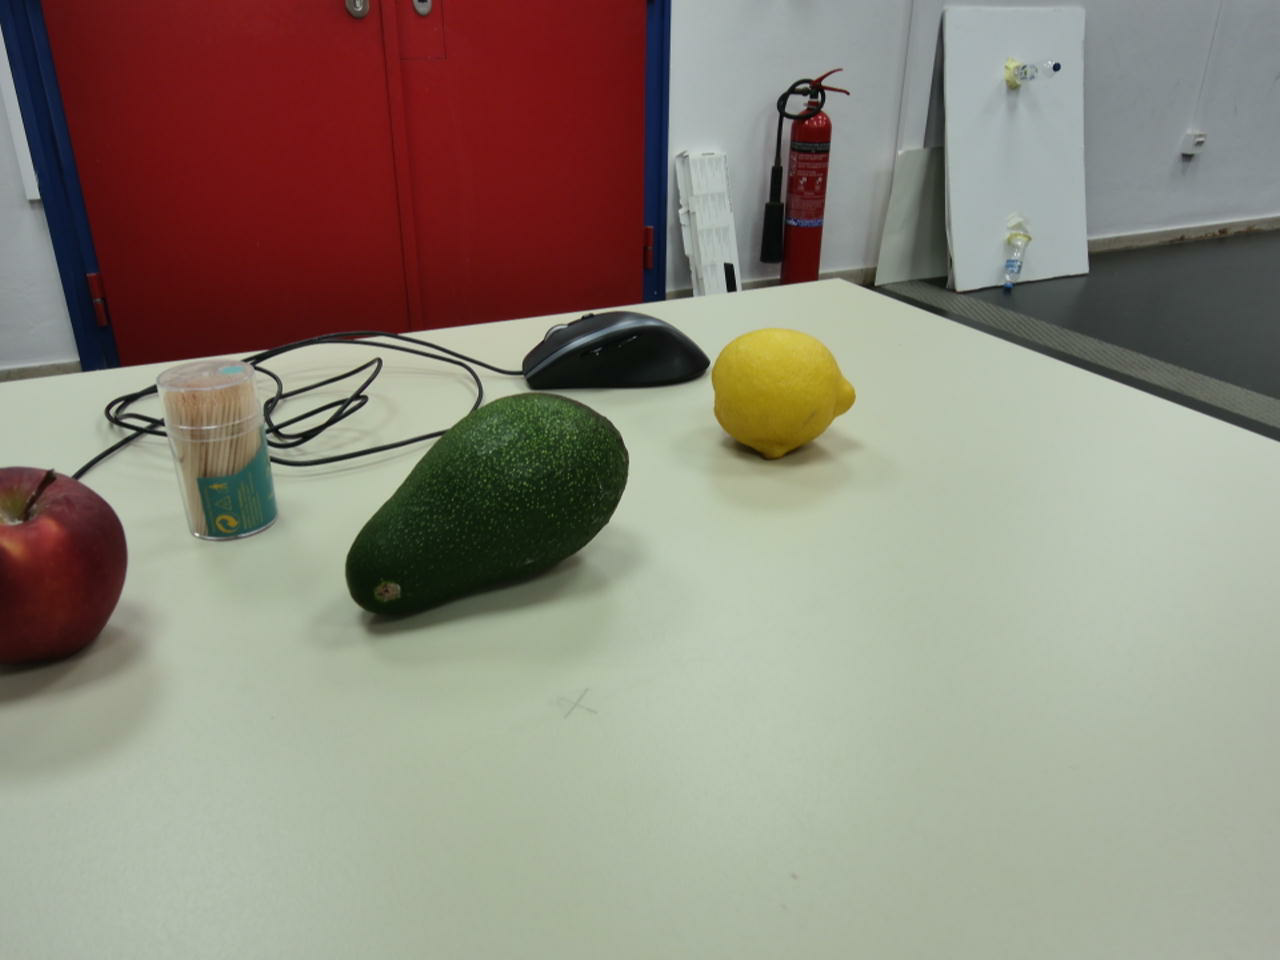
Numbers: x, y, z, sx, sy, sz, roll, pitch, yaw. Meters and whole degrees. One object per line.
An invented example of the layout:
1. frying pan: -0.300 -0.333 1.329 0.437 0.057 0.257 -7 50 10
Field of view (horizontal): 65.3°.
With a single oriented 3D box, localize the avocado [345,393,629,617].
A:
1. avocado: -0.064 0.004 0.417 0.123 0.076 0.074 -8 25 -19
